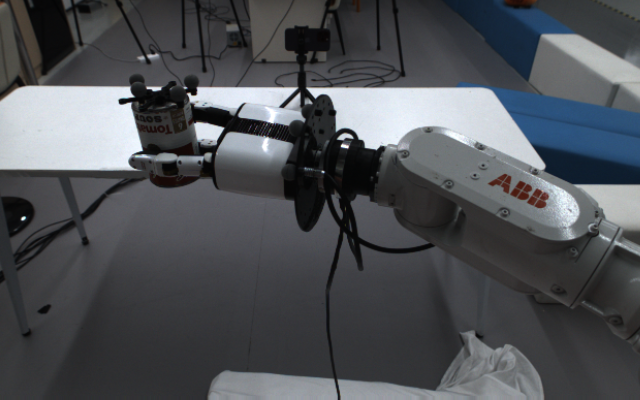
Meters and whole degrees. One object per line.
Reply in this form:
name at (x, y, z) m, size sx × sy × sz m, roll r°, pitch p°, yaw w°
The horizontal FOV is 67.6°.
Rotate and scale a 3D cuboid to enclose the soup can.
soup can at (-0.184, -0.074, 0.595) m, size 0.067 × 0.101 × 0.067 m, roll -2°, pitch 33°, yaw 1°
